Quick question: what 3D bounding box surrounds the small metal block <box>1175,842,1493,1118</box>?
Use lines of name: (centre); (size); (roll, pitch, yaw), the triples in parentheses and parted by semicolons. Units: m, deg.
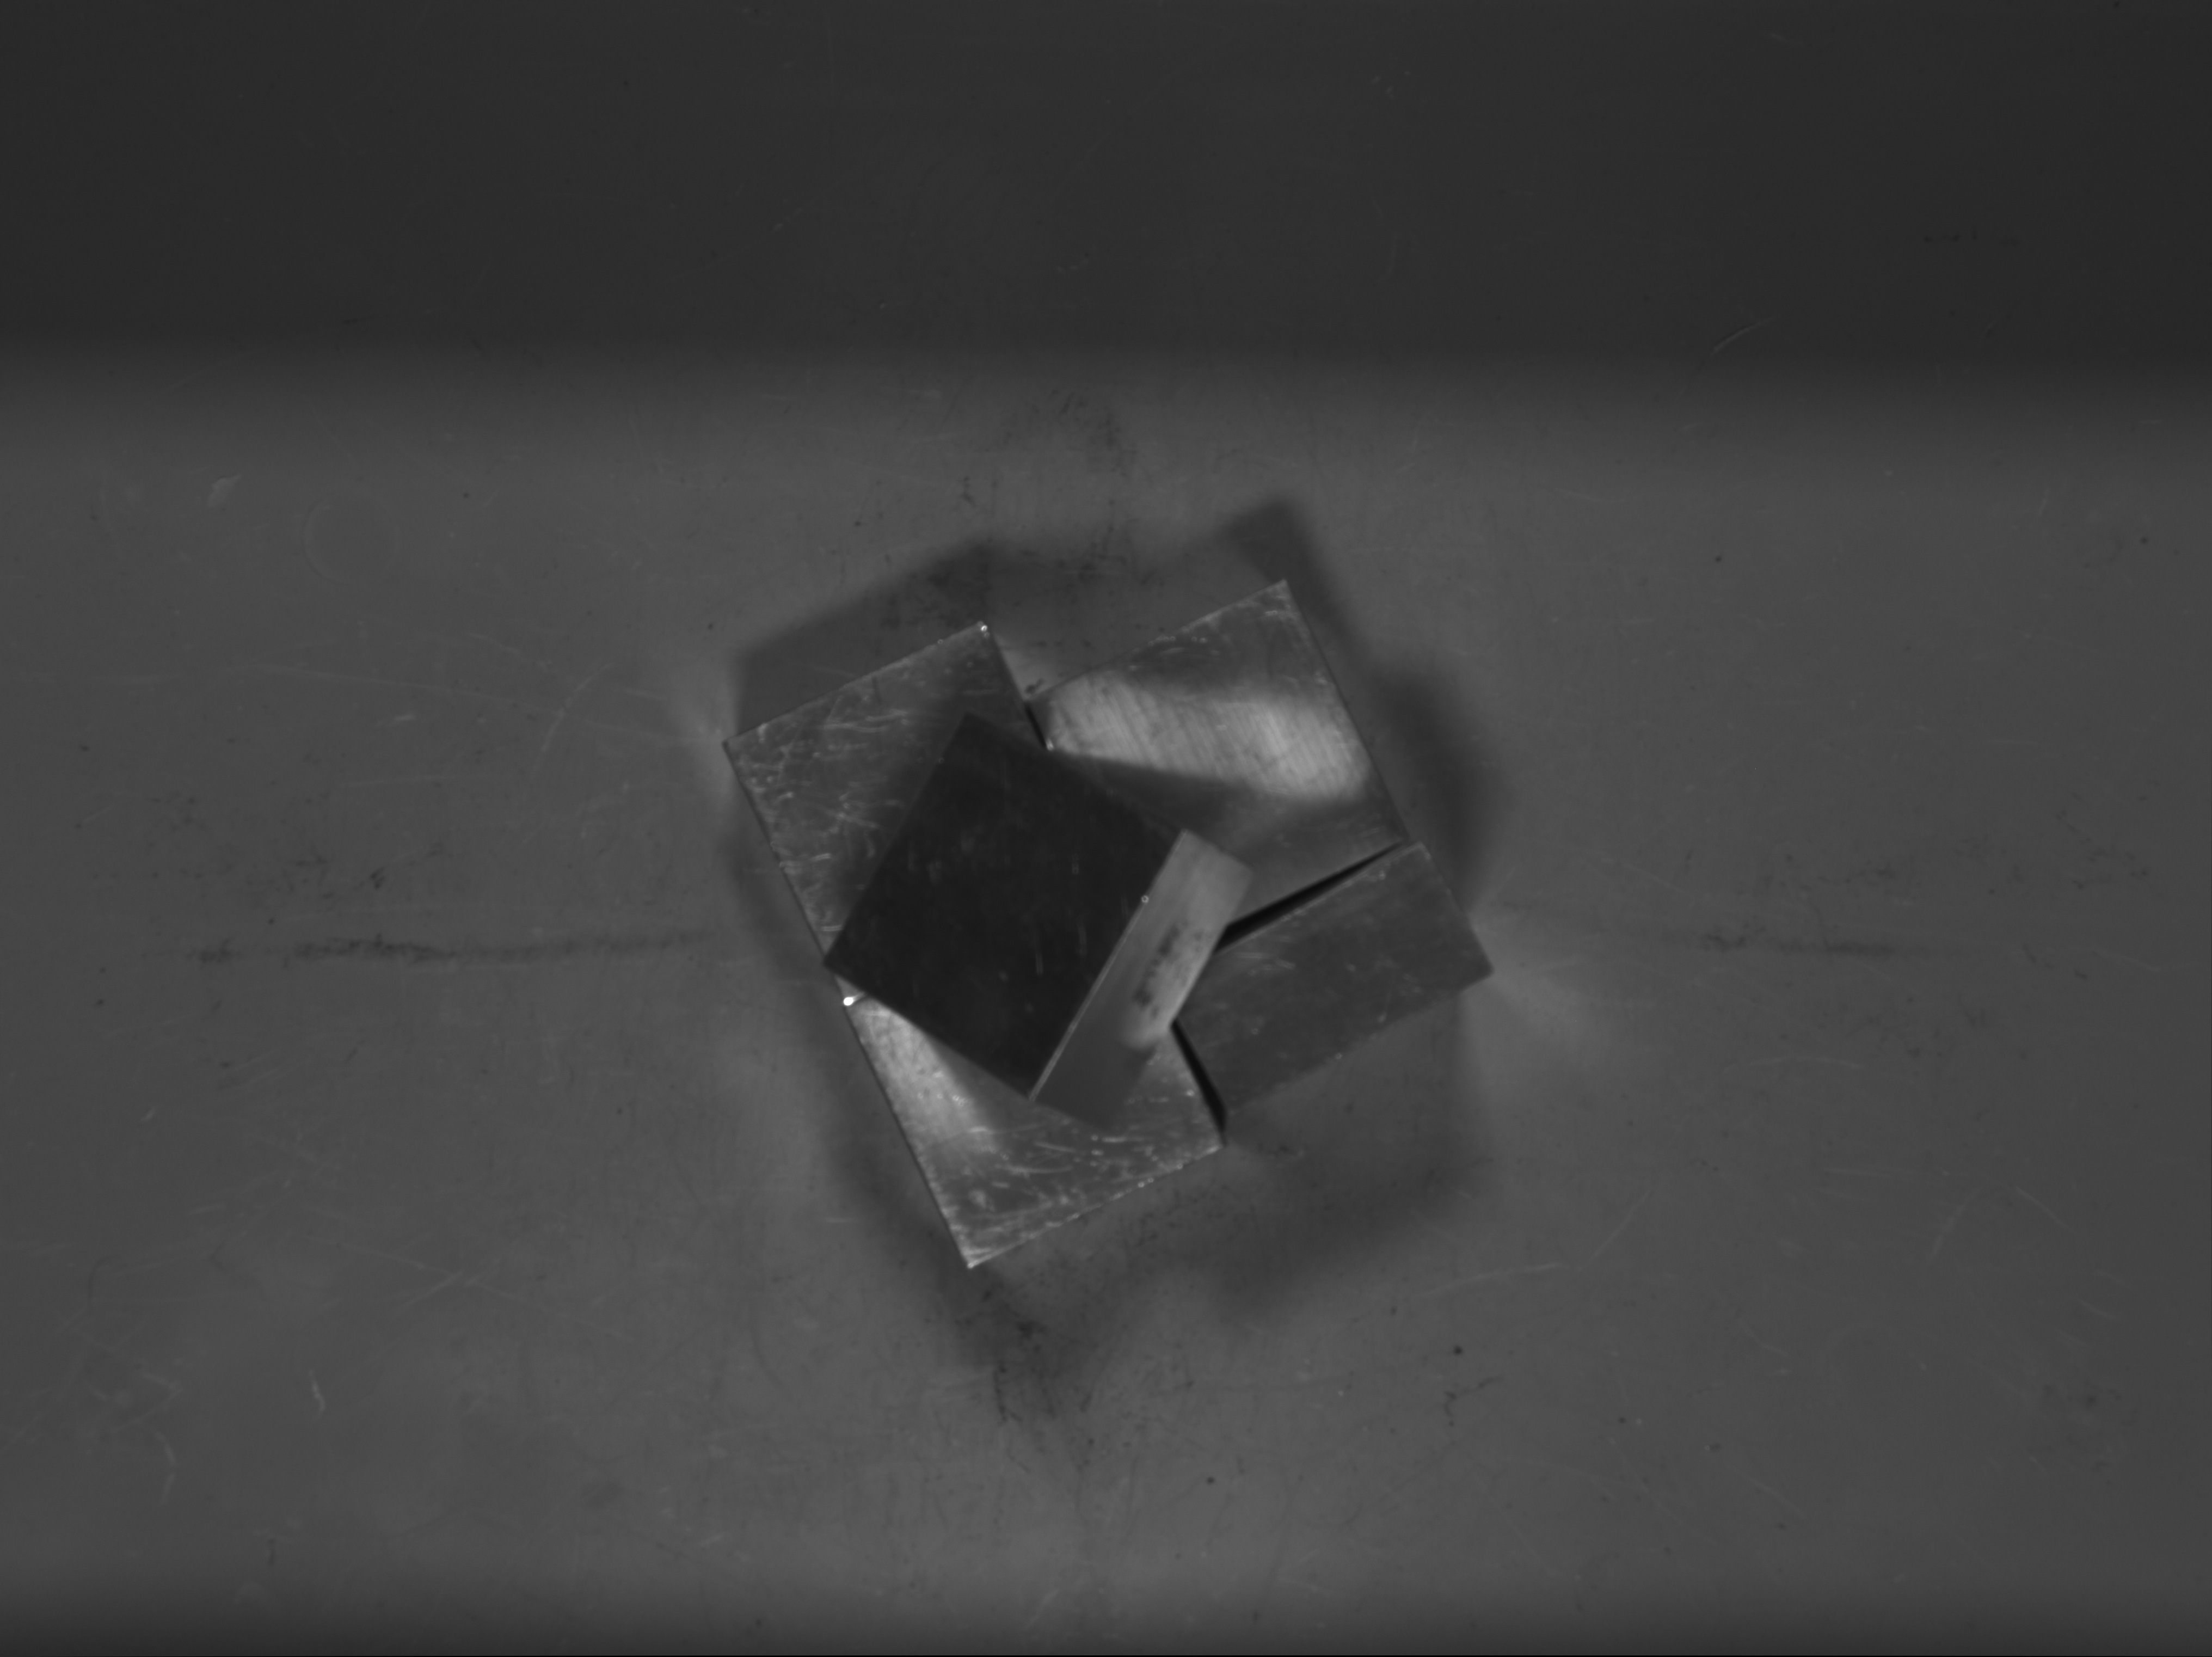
small metal block: (0.036, 0.025, 0.632); (0.050, 0.050, 0.025); (-28, 90, -1)

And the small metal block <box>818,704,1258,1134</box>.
small metal block: (-0.011, 0.015, 0.607); (0.050, 0.025, 0.050); (30, 89, 34)

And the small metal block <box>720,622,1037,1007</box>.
small metal block: (-0.033, -0.002, 0.644); (0.050, 0.025, 0.050); (-25, 90, 0)

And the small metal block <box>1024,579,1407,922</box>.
small metal block: (0.019, -0.010, 0.644); (0.050, 0.025, 0.050); (-25, 90, 0)

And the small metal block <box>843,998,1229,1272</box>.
small metal block: (-0.012, 0.043, 0.644); (0.050, 0.025, 0.050); (-25, 90, 0)
